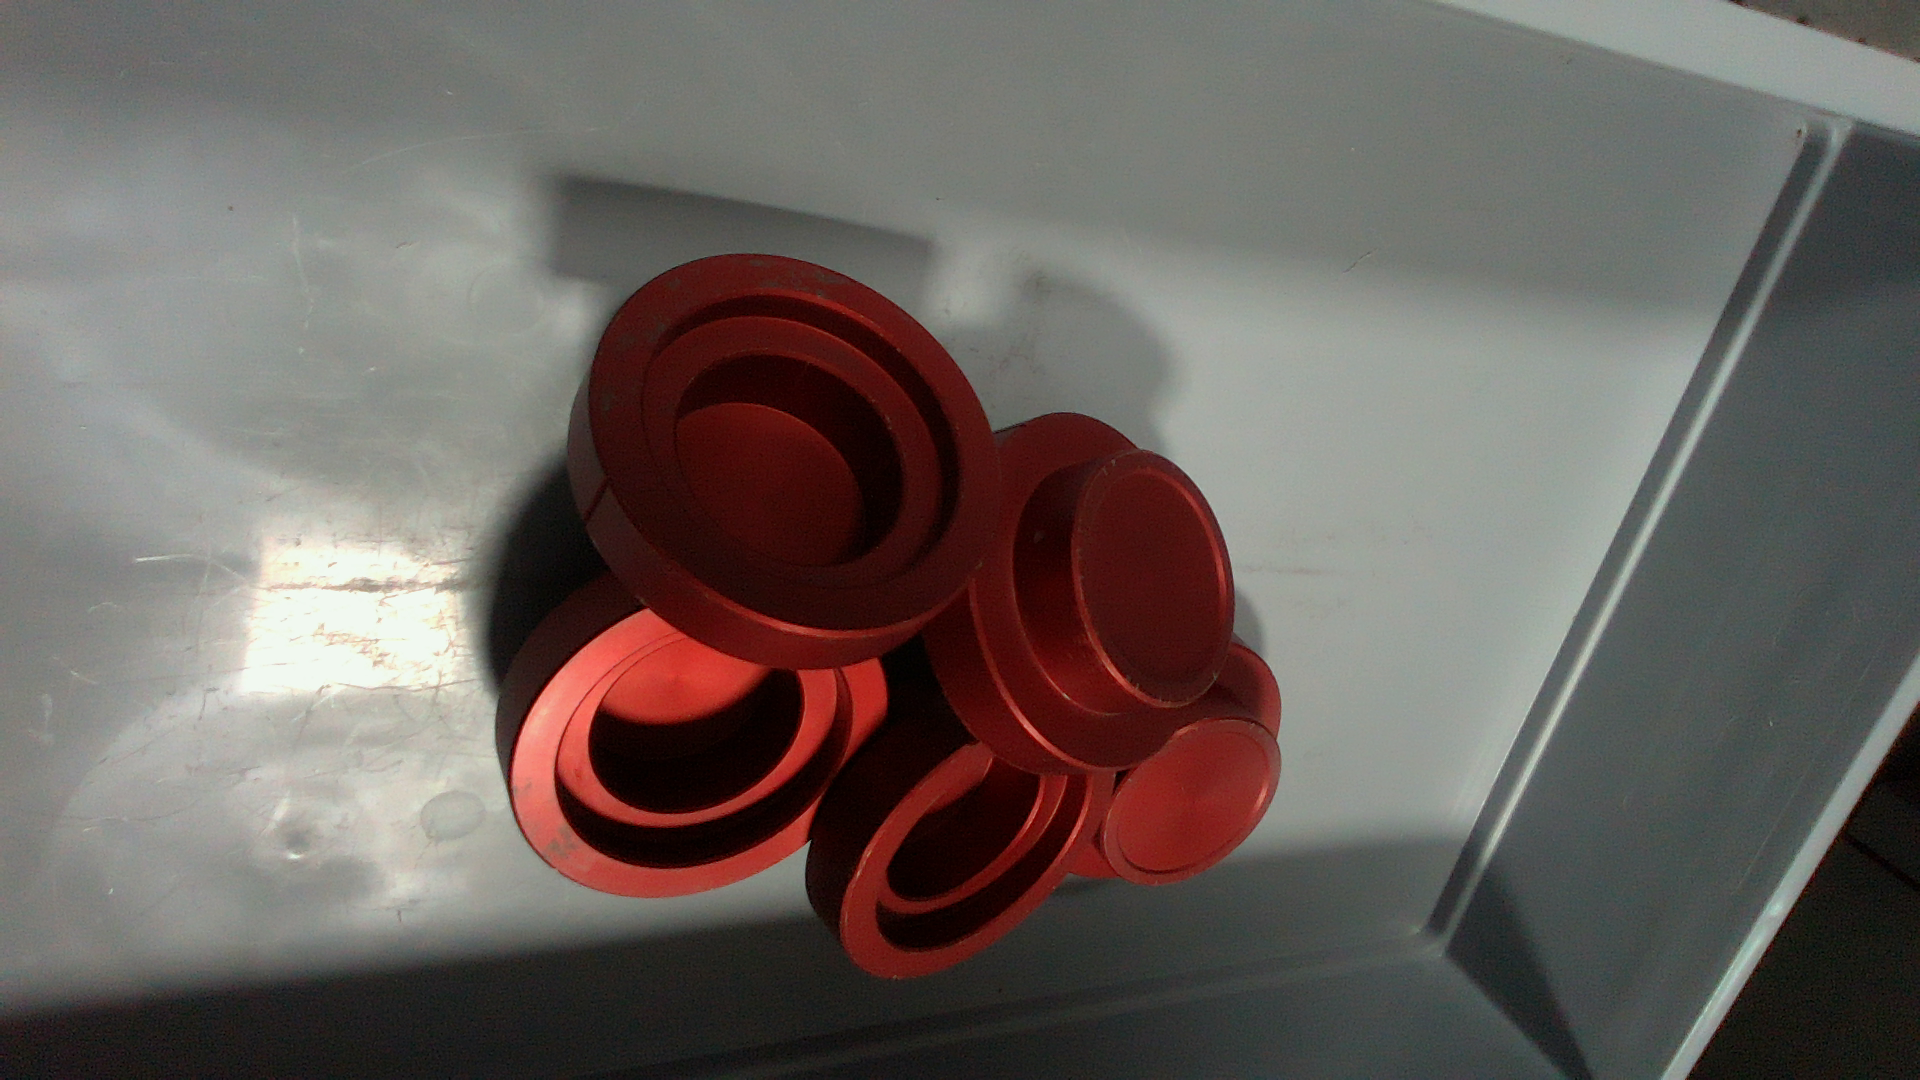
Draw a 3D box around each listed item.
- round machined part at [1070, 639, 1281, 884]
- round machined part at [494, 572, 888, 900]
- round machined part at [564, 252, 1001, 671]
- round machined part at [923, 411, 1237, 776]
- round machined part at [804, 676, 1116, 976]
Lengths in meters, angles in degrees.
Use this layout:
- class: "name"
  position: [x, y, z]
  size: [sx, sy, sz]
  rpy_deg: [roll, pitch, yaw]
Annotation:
- class: "round machined part"
  position: [0.066, 0.075, 0.458]
  size: [0.098, 0.042, 0.098]
  rpy_deg: [-14, 124, -21]
- class: "round machined part"
  position: [-0.072, 0.043, 0.363]
  size: [0.098, 0.042, 0.098]
  rpy_deg: [-14, 124, -21]
- class: "round machined part"
  position: [-0.043, -0.015, 0.321]
  size: [0.098, 0.098, 0.042]
  rpy_deg: [3, 153, -30]
- class: "round machined part"
  position: [0.038, 0.013, 0.370]
  size: [0.098, 0.042, 0.098]
  rpy_deg: [14, 70, -42]
- class: "round machined part"
  position: [-0.004, 0.078, 0.407]
  size: [0.098, 0.042, 0.098]
  rpy_deg: [-26, 138, -25]
